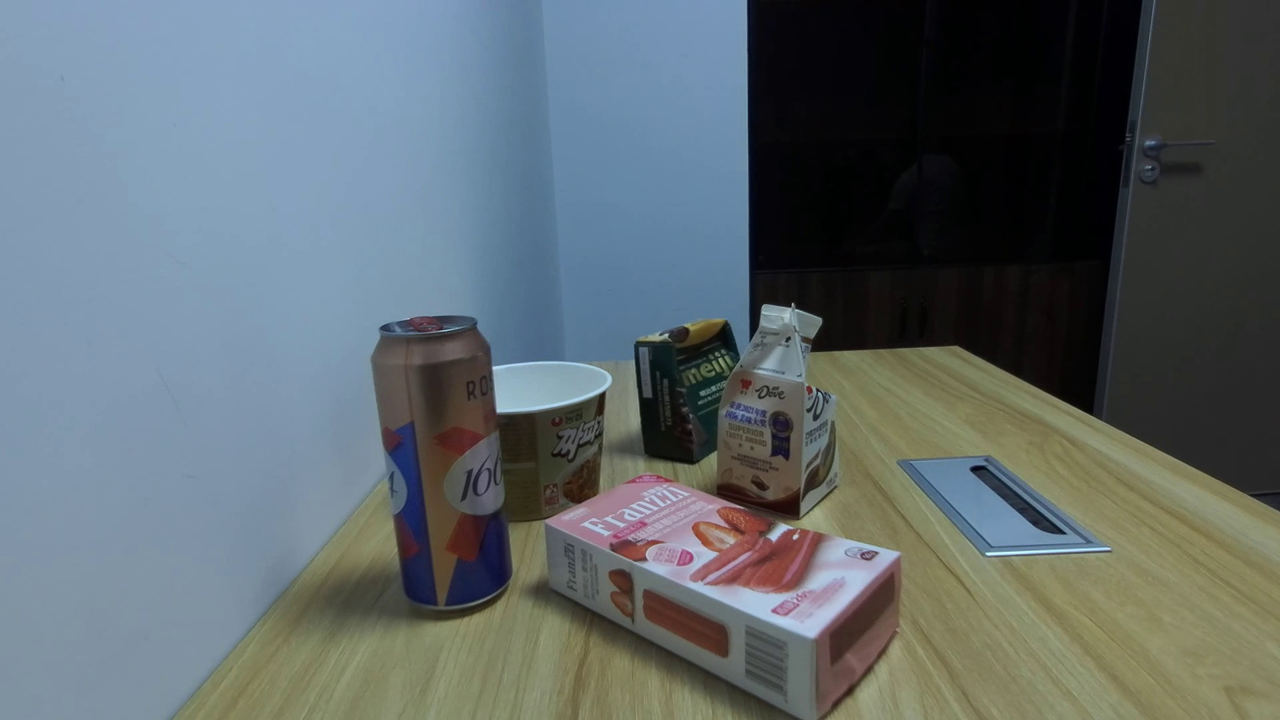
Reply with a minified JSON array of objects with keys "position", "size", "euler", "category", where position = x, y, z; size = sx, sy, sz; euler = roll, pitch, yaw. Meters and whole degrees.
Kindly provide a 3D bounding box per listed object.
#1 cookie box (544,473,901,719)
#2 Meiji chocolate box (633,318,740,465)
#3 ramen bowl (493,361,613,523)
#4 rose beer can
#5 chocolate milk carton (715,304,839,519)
[{"position":[0.045,0.120,0.405],"size":[0.186,0.049,0.105],"euler":[11,19,41],"category":"cookie box"},{"position":[0.051,0.025,0.659],"size":[0.051,0.117,0.118],"euler":[-4,9,38],"category":"Meiji chocolate box"},{"position":[-0.090,0.063,0.570],"size":[0.140,0.095,0.140],"euler":[-2,15,1],"category":"ramen bowl"},{"position":[-0.117,0.063,0.424],"size":[0.068,0.169,0.068],"euler":[-1,13,1],"category":"rose beer can"},{"position":[0.107,0.030,0.535],"size":[0.073,0.155,0.076],"euler":[10,18,35],"category":"chocolate milk carton"}]
